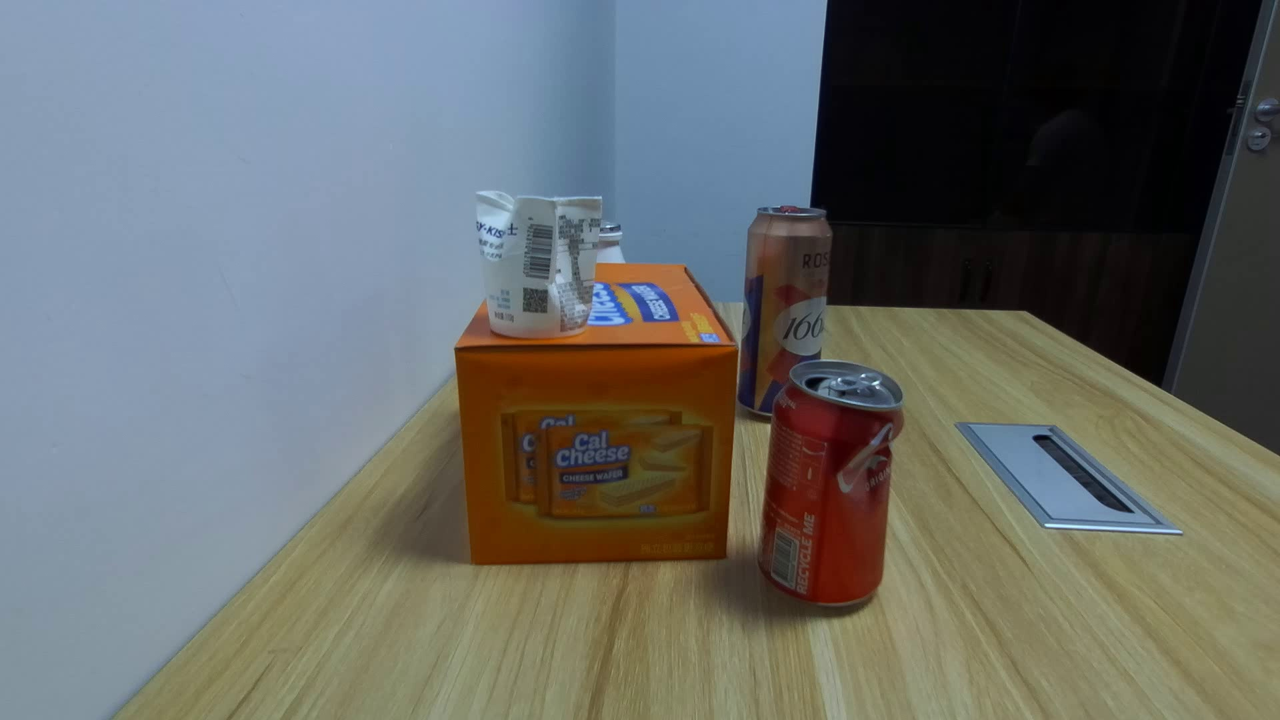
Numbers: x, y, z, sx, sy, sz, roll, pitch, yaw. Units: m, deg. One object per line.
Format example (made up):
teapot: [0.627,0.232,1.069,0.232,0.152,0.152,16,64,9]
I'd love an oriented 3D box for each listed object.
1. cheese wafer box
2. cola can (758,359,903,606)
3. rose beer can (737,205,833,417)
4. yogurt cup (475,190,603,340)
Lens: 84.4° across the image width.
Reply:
cheese wafer box: [-0.029,0.020,0.473,0.148,0.129,0.221,0,18,-4]
cola can: [0.097,0.061,0.362,0.072,0.117,0.065,-16,24,-40]
rose beer can: [0.118,-0.035,0.580,0.068,0.169,0.068,3,15,-1]
yogurt cup: [-0.054,-0.051,0.371,0.054,0.072,0.055,17,25,40]
